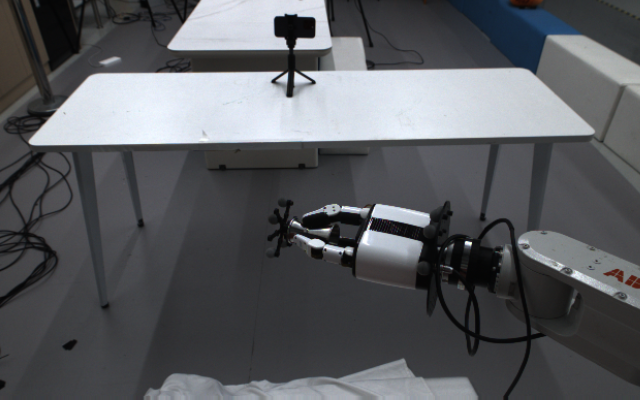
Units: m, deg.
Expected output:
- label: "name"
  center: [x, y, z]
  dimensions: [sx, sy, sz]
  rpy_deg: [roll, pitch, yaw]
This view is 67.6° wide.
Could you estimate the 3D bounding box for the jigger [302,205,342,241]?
- label: "jigger"
  center: [-0.004, 0.048, 0.720]
  dimensions: [0.071, 0.043, 0.043]
  rpy_deg: [10, 35, 22]
